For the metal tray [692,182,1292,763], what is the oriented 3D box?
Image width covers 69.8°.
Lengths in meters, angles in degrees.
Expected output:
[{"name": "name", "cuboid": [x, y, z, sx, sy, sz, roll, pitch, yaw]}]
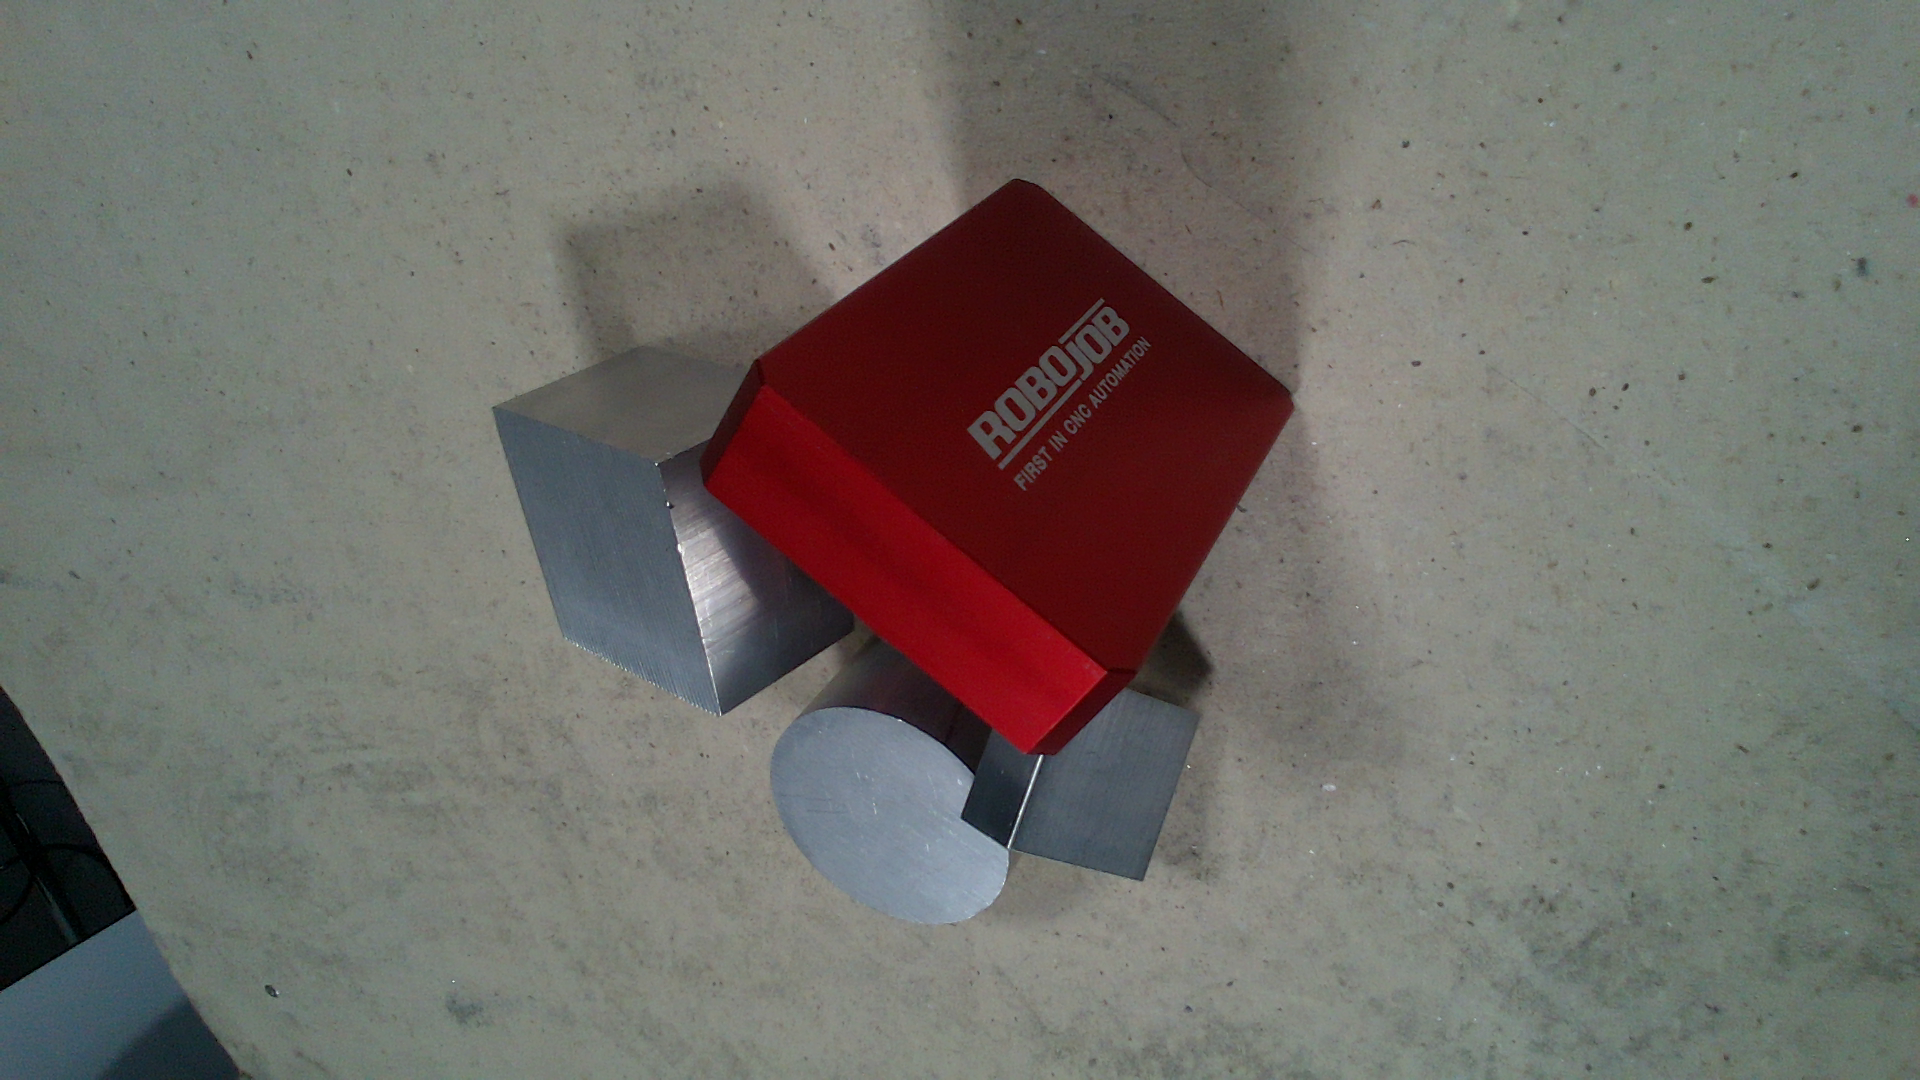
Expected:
[{"name": "metal tray", "cuboid": [0.015, -0.023, 0.301, 0.090, 0.130, 0.030, 39, 129, 2]}]

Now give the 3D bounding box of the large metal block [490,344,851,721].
[{"name": "large metal block", "cuboid": [-0.083, -0.005, 0.402, 0.080, 0.050, 0.080, 18, 128, 39]}]

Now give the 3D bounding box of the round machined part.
[{"name": "round machined part", "cuboid": [0.001, -0.005, 0.380, 0.098, 0.042, 0.098, 13, 124, 21]}]

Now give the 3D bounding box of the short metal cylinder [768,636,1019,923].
[{"name": "short metal cylinder", "cuboid": [-0.012, 0.071, 0.428, 0.080, 0.050, 0.080, 13, 124, 21]}]

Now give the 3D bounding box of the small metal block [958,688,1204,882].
[{"name": "small metal block", "cuboid": [0.034, 0.063, 0.383, 0.050, 0.050, 0.025, 21, 178, -33]}]
